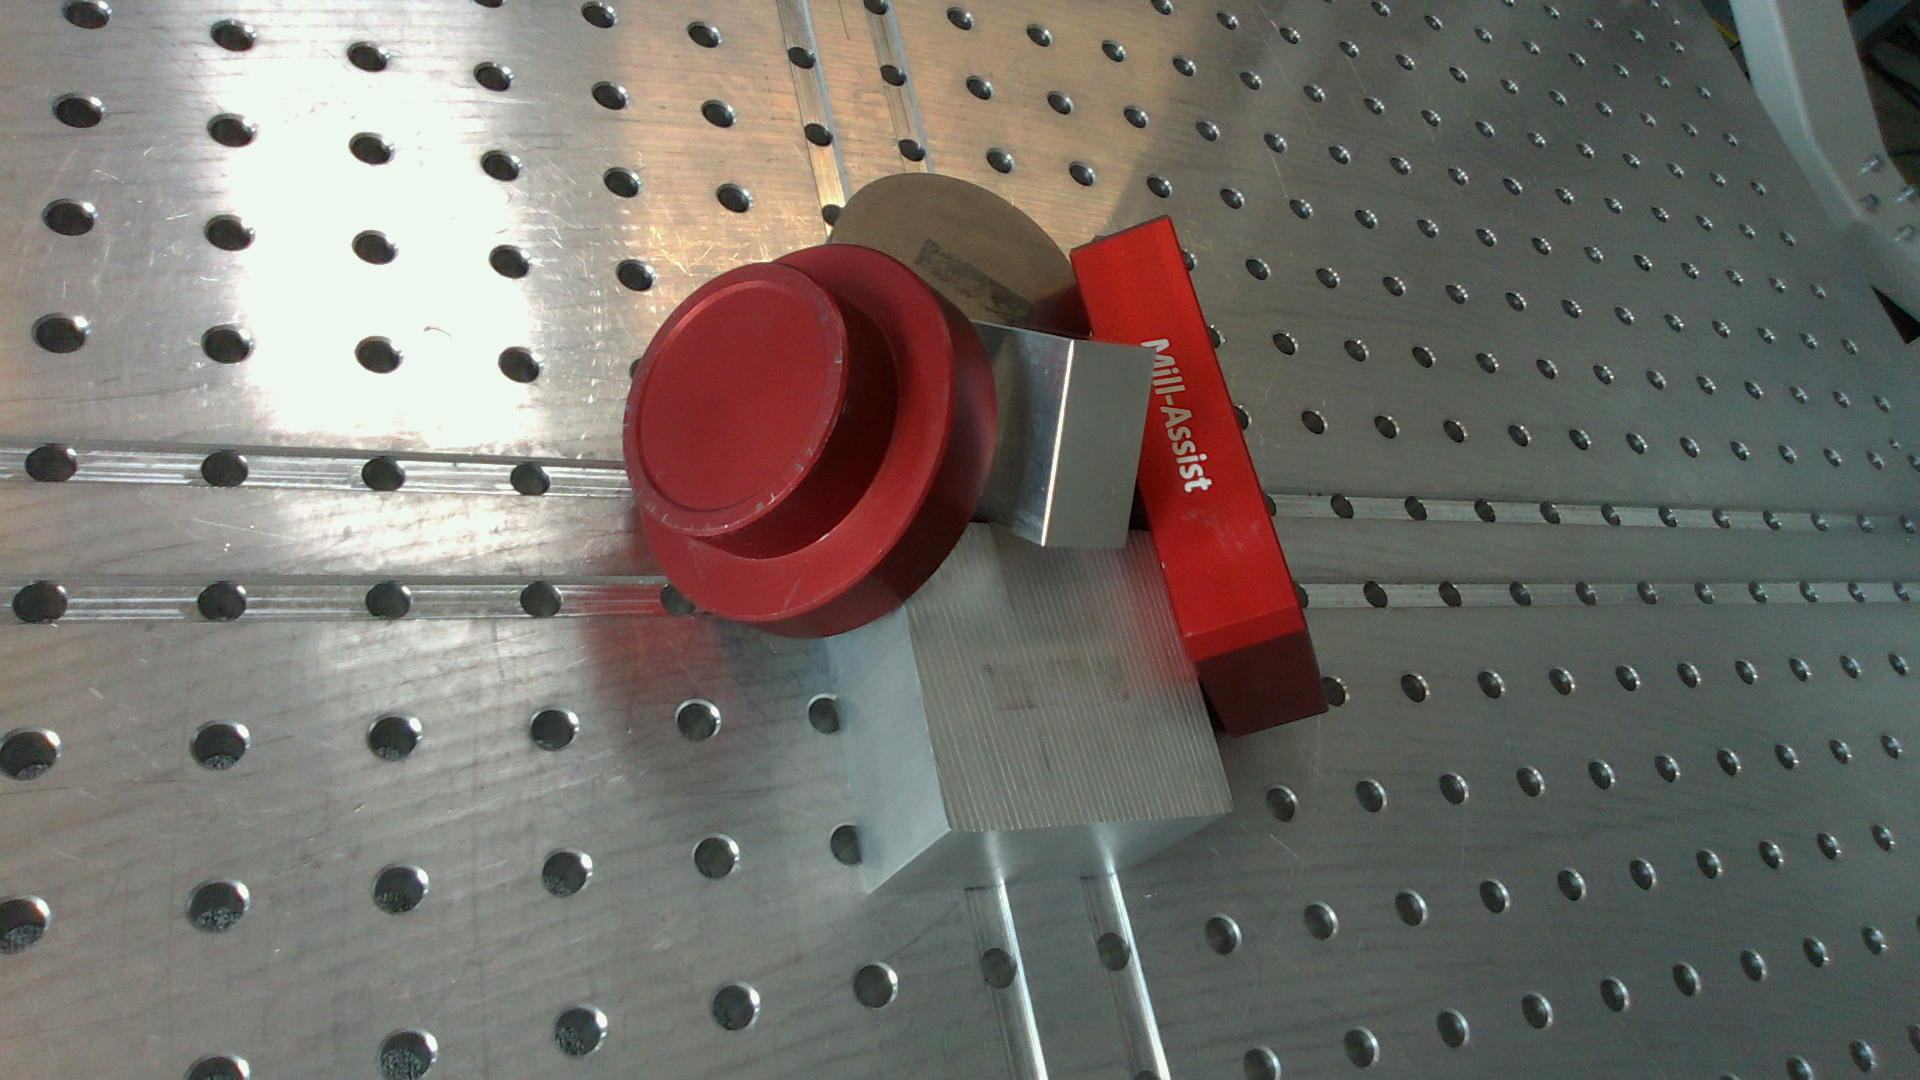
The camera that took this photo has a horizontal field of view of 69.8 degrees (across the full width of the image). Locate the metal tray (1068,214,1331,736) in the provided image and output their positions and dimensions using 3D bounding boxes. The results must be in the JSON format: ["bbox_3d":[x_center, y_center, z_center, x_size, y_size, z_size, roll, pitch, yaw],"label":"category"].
[{"bbox_3d":[0.070,-0.017,0.401,0.030,0.090,0.130,-19,64,11],"label":"metal tray"}]

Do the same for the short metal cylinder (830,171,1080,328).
[{"bbox_3d":[-0.009,-0.061,0.408,0.080,0.050,0.080,14,56,-21],"label":"short metal cylinder"}]

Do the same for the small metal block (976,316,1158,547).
[{"bbox_3d":[0.021,-0.029,0.351,0.025,0.050,0.050,2,103,-31],"label":"small metal block"}]

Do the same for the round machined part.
[{"bbox_3d":[-0.043,-0.028,0.335,0.042,0.098,0.098,29,42,-54],"label":"round machined part"}]

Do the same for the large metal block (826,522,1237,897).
[{"bbox_3d":[0.015,0.043,0.358,0.080,0.050,0.080,2,61,-27],"label":"large metal block"}]
